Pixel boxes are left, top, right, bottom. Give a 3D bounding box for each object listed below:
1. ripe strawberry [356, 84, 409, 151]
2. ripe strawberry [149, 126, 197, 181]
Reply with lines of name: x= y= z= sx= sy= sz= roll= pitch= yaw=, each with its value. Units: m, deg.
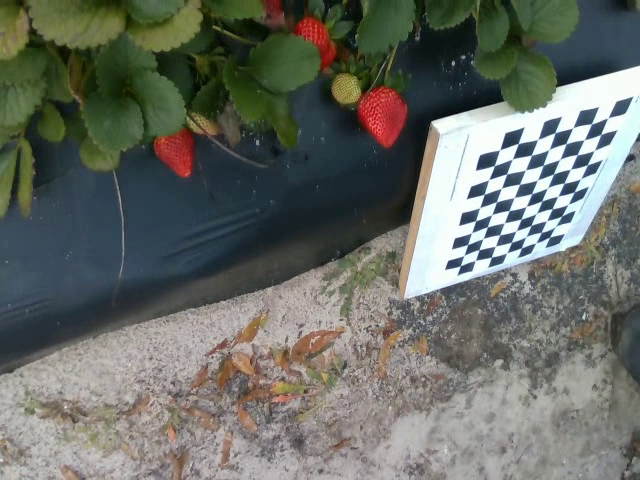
ripe strawberry: x=0.062 y=-0.114 z=0.622 sx=0.057 sy=0.065 sz=0.056 roll=-23 pitch=-30 yaw=28
ripe strawberry: x=-0.127 y=-0.081 z=0.569 sx=0.043 sy=0.051 sz=0.041 roll=-23 pitch=9 yaw=4
